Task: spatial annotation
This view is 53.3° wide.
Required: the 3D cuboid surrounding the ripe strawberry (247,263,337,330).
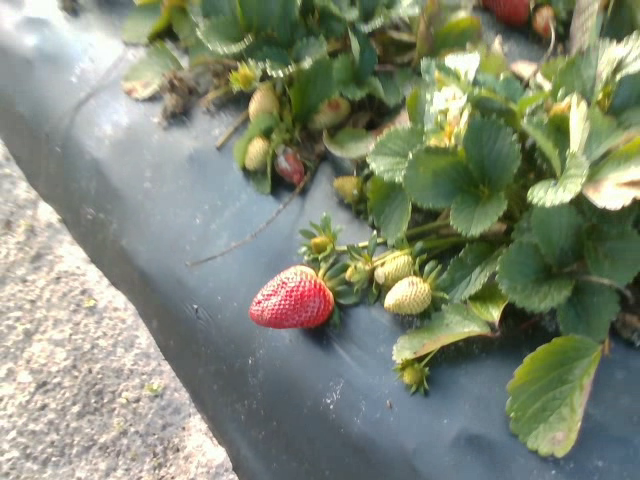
[{"bbox_3d":[-0.026,0.048,0.494,0.067,0.045,0.053,-29,56,-25],"label":"ripe strawberry"}]
